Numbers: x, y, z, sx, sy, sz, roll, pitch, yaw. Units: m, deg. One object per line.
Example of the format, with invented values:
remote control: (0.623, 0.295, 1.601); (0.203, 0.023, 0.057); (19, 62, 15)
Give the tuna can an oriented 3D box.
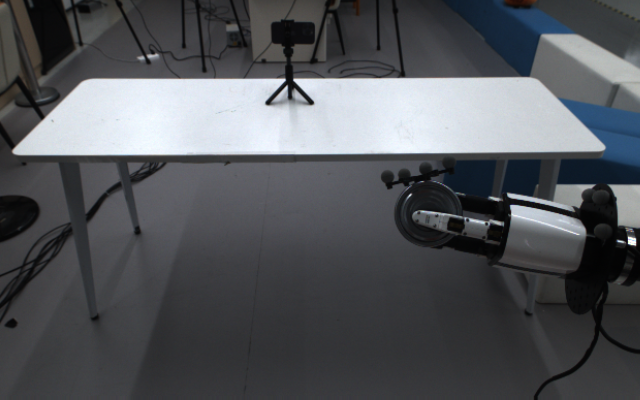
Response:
tuna can: (0.143, 0.023, 0.617); (0.085, 0.085, 0.034); (12, 3, 14)
